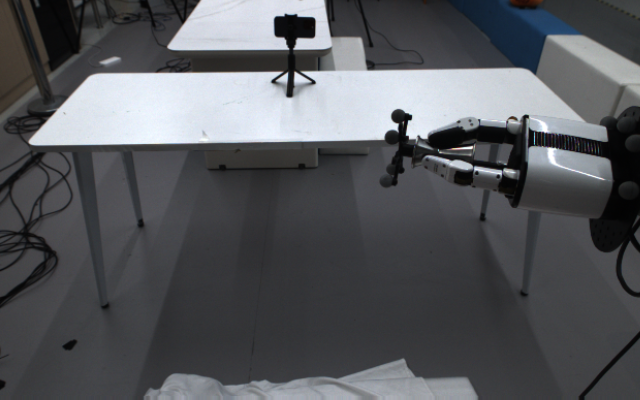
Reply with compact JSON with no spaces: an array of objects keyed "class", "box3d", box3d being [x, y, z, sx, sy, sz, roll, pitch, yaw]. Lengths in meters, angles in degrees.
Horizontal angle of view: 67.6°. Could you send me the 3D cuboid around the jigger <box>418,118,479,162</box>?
[{"class":"jigger","box3d":[0.150,-0.057,0.575,0.071,0.043,0.043,10,36,15]}]
